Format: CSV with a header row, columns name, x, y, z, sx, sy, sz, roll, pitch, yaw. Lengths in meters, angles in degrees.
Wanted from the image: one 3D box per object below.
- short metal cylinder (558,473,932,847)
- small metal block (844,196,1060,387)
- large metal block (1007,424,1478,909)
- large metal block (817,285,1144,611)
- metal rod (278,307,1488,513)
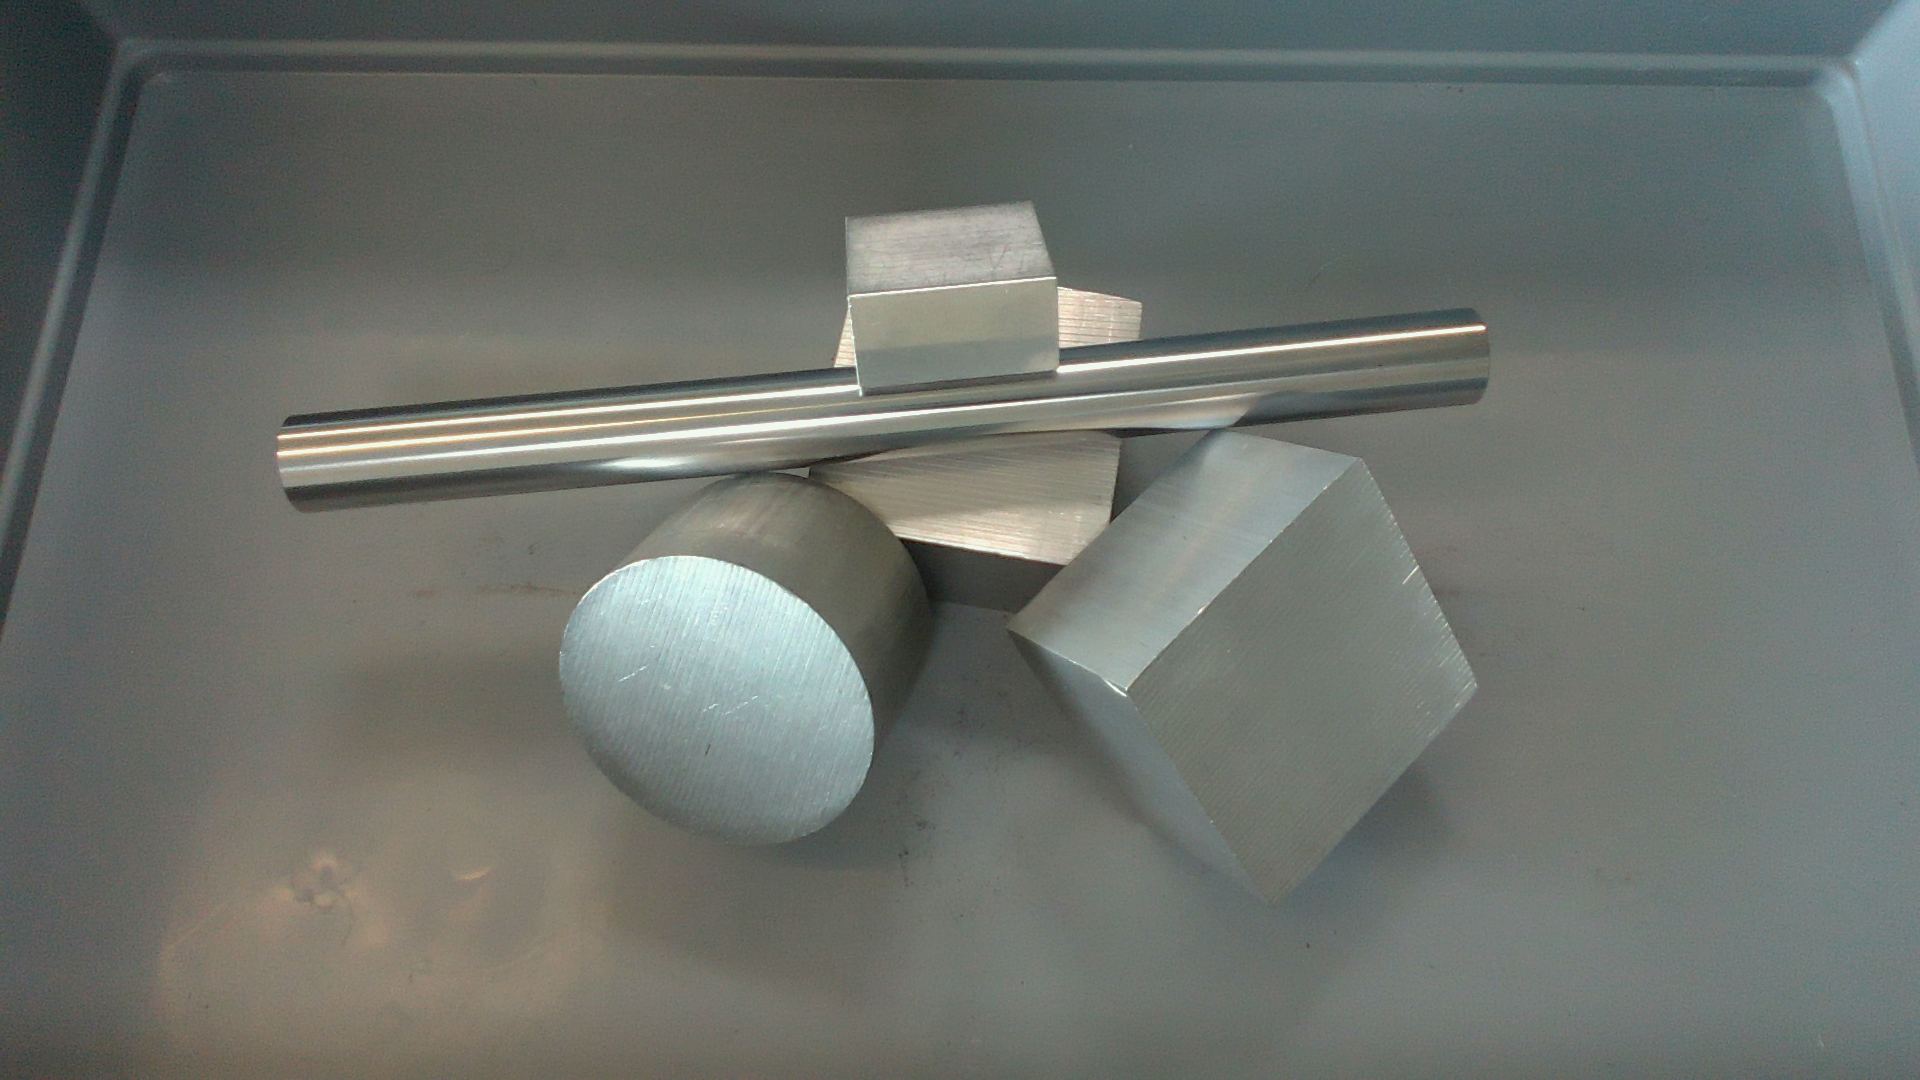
name,x,y,z,sx,sy,sz,roll,pitch,yaw
short metal cylinder,-0.052,0.029,0.347,0.080,0.080,0.050,18,28,7
small metal block,-0.003,-0.064,0.351,0.050,0.025,0.050,-6,35,-2
large metal block,0.073,0.029,0.347,0.080,0.050,0.080,-43,119,-14
large metal block,0.004,-0.028,0.390,0.080,0.050,0.080,10,70,4
metal rod,-0.017,-0.034,0.352,0.300,0.025,0.025,-5,70,-2
